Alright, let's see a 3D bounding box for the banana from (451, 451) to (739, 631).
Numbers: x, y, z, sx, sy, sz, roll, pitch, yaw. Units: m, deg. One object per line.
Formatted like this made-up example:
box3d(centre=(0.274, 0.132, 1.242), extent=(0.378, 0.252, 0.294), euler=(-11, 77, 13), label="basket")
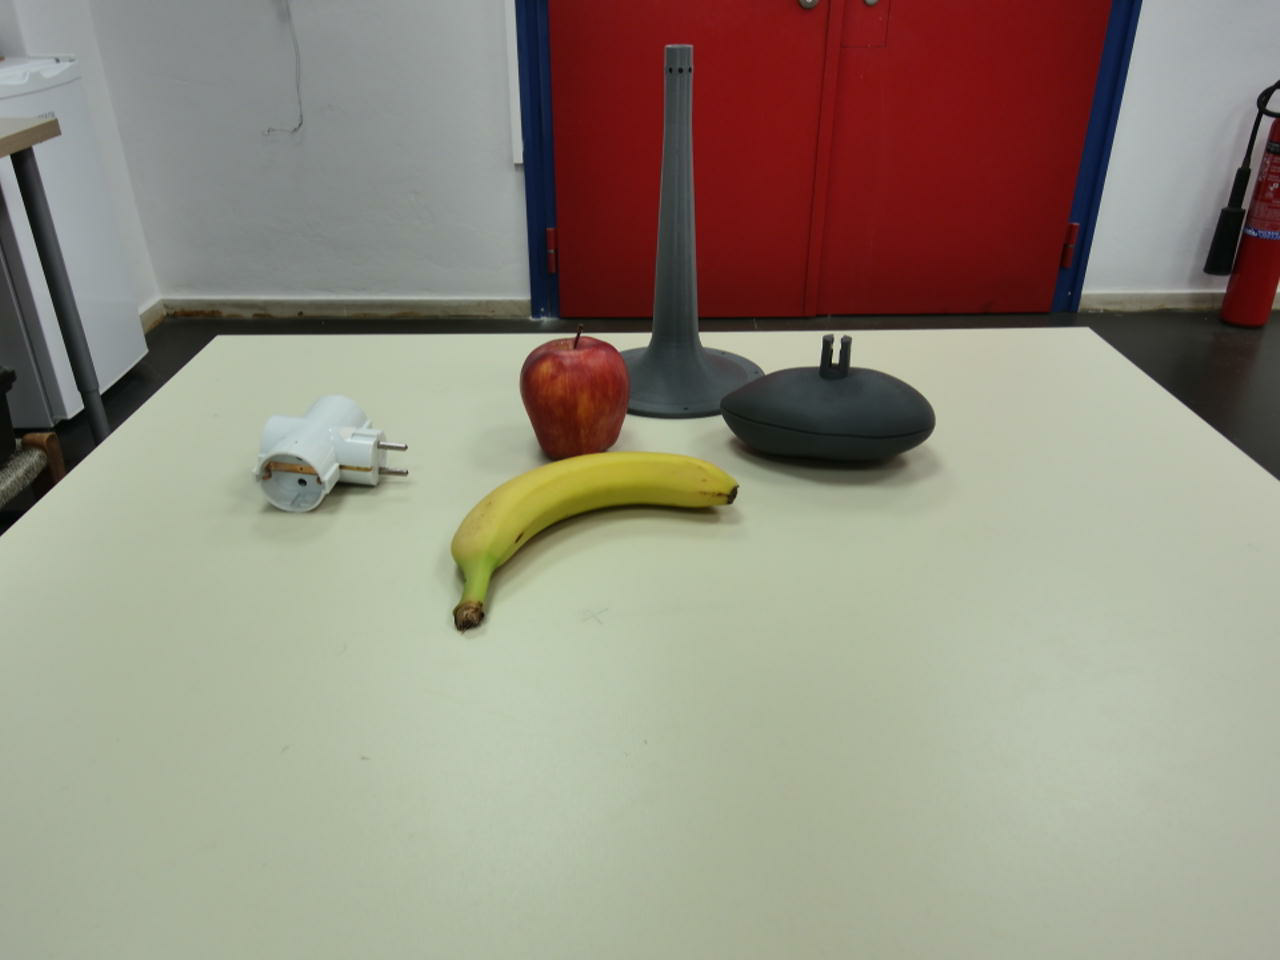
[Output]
box3d(centre=(-0.040, 0.019, 0.597), extent=(0.196, 0.041, 0.094), euler=(-18, 31, -32), label="banana")
